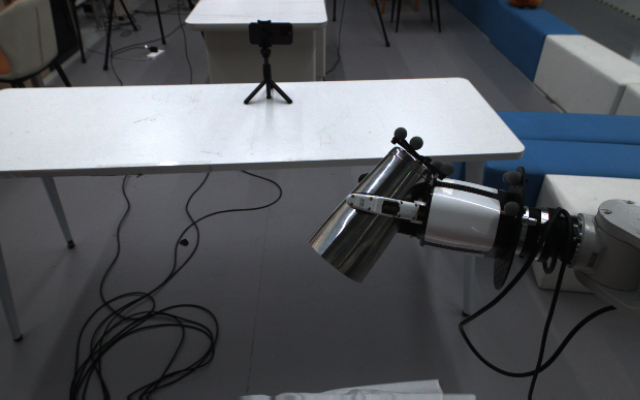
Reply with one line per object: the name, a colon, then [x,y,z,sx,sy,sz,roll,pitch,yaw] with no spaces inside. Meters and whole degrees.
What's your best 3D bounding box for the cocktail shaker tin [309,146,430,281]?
cocktail shaker tin: [0.073,0.012,0.647,0.170,0.093,0.093,-50,46,4]
